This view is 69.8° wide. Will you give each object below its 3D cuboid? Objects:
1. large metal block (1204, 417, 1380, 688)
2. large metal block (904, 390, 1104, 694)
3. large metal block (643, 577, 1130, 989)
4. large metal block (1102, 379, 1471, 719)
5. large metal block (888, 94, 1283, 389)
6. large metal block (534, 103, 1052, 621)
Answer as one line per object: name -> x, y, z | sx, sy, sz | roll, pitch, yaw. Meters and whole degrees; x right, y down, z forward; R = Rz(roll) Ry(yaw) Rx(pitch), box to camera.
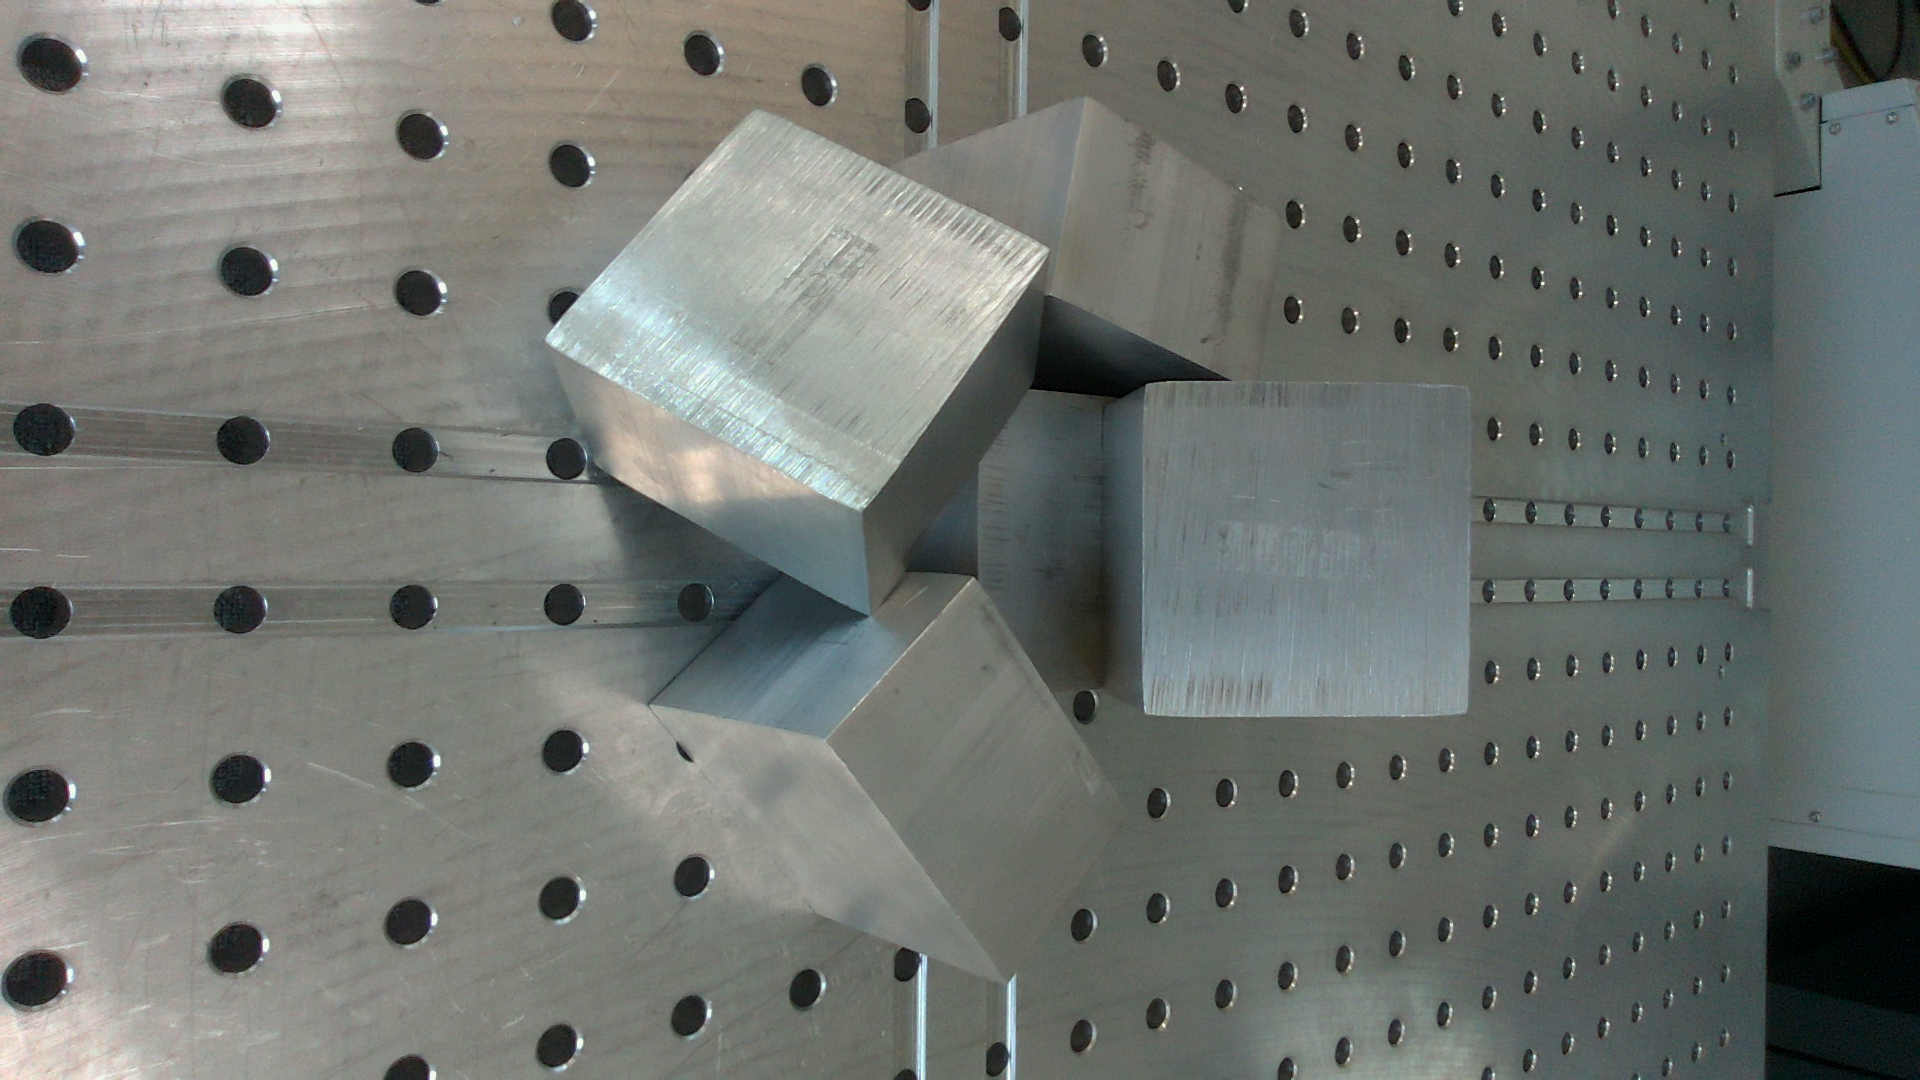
large metal block -> 0.091, 0.002, 0.421 | 0.050, 0.080, 0.080 | 0, 90, -2
large metal block -> 0.018, 0.001, 0.390 | 0.080, 0.050, 0.080 | 1, 89, -40
large metal block -> -0.018, 0.056, 0.339 | 0.050, 0.080, 0.080 | -48, 119, -30
large metal block -> 0.081, 0.002, 0.353 | 0.080, 0.050, 0.080 | 0, 89, -6
large metal block -> 0.029, -0.073, 0.380 | 0.080, 0.080, 0.050 | 17, 79, -38
large metal block -> -0.035, -0.042, 0.318 | 0.080, 0.080, 0.050 | -56, 166, -25
